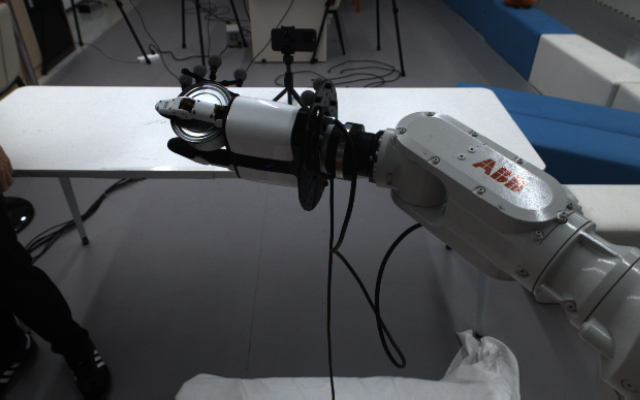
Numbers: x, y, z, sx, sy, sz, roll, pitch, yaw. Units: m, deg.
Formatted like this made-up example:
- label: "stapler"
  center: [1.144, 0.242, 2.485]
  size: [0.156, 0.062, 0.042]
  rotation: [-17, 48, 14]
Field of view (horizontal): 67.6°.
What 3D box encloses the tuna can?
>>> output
- label: "tuna can"
  center: [-0.147, -0.107, 0.624]
  size: [0.085, 0.034, 0.085]
  rotation: [-5, 70, 14]
